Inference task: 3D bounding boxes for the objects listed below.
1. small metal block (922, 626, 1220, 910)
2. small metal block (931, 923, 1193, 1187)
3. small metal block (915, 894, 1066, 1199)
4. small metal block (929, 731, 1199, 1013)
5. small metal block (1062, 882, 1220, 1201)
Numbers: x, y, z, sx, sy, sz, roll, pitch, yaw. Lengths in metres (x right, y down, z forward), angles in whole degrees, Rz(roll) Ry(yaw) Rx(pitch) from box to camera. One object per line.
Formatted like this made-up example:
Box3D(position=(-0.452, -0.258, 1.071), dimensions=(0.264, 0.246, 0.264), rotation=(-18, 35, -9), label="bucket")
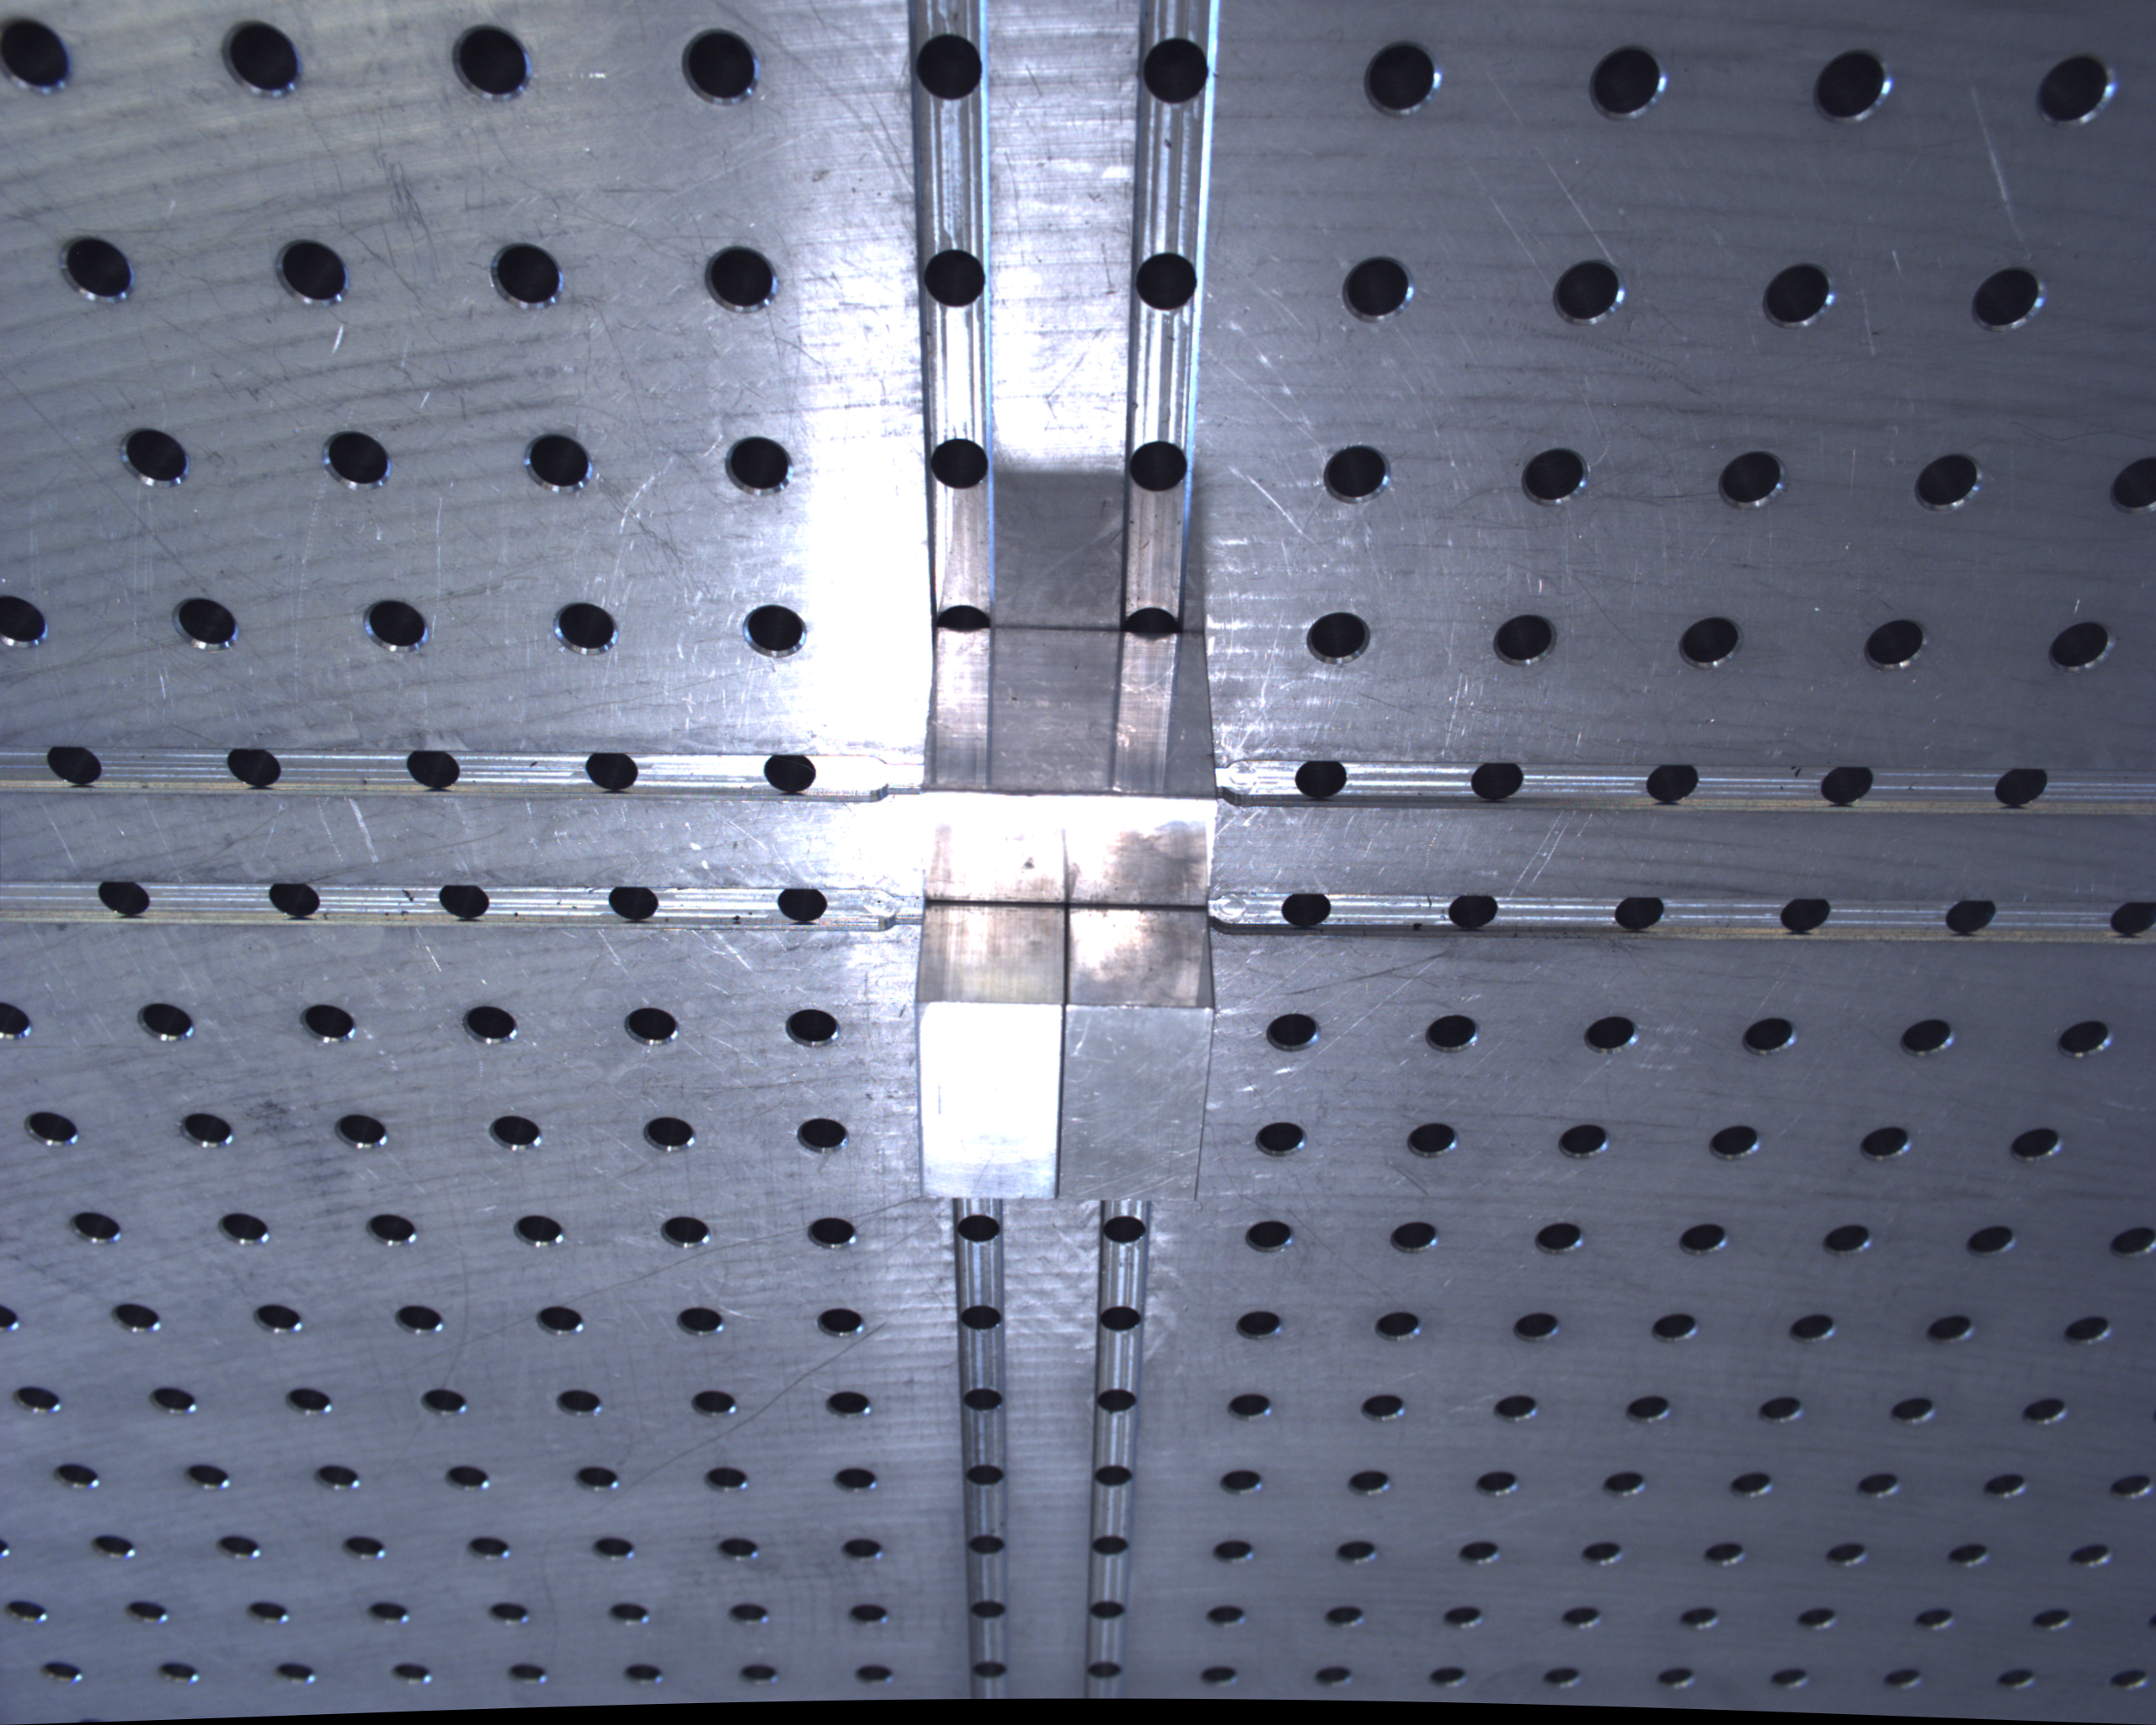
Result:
Box3D(position=(-0.001, -0.018, 0.379), dimensions=(0.050, 0.050, 0.025), rotation=(2, 130, -1), label="small metal block")
Box3D(position=(-0.003, 0.039, 0.427), dimensions=(0.050, 0.050, 0.025), rotation=(1, 130, -1), label="small metal block")
Box3D(position=(-0.015, 0.026, 0.384), dimensions=(0.025, 0.050, 0.050), rotation=(1, 130, -1), label="small metal block")
Box3D(position=(-0.003, 0.002, 0.413), dimensions=(0.050, 0.025, 0.050), rotation=(2, 130, 0), label="small metal block")
Box3D(position=(0.011, 0.026, 0.385), dimensions=(0.025, 0.050, 0.050), rotation=(2, 130, 0), label="small metal block")
